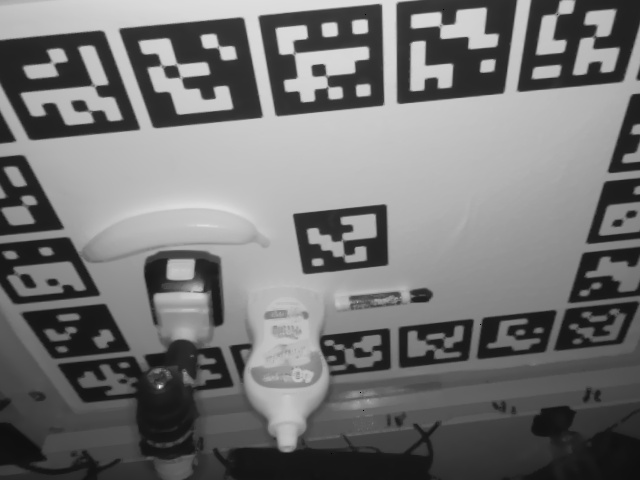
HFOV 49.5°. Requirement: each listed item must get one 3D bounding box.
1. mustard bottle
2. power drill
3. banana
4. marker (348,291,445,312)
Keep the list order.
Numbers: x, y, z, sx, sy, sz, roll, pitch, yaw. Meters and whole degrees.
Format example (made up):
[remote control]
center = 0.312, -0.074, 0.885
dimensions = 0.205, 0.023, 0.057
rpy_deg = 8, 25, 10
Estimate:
[mustard bottle]
center = -0.027, 0.139, 0.794
dimensions = 0.097, 0.193, 0.058
rpy_deg = 4, 132, -6
[power drill]
center = -0.136, 0.112, 0.737
dimensions = 0.058, 0.188, 0.182
rpy_deg = 6, 134, -7
[banana]
center = -0.137, -0.017, 0.749
dimensions = 0.198, 0.039, 0.073
rpy_deg = 0, 131, -7
[marker]
center = 0.096, 0.077, 0.866
dimensions = 0.121, 0.020, 0.019
rpy_deg = -4, 131, -2
